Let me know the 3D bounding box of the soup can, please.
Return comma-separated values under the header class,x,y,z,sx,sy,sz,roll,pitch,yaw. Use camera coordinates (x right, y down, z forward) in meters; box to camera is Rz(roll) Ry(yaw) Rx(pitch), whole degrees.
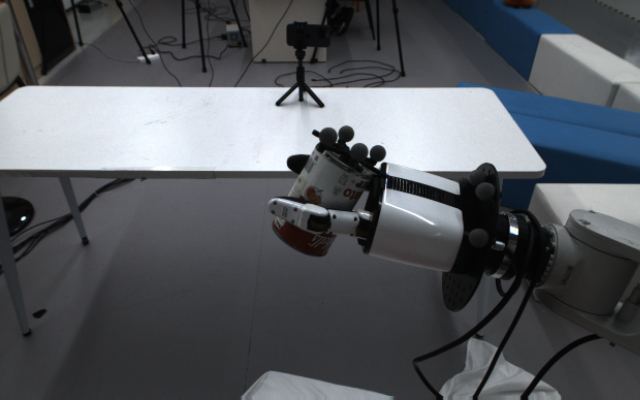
class,x,y,z,sx,sy,sz,roll,pitch,yaw
soup can,0.004,-0.001,0.505,0.067,0.101,0.067,27,18,-9
